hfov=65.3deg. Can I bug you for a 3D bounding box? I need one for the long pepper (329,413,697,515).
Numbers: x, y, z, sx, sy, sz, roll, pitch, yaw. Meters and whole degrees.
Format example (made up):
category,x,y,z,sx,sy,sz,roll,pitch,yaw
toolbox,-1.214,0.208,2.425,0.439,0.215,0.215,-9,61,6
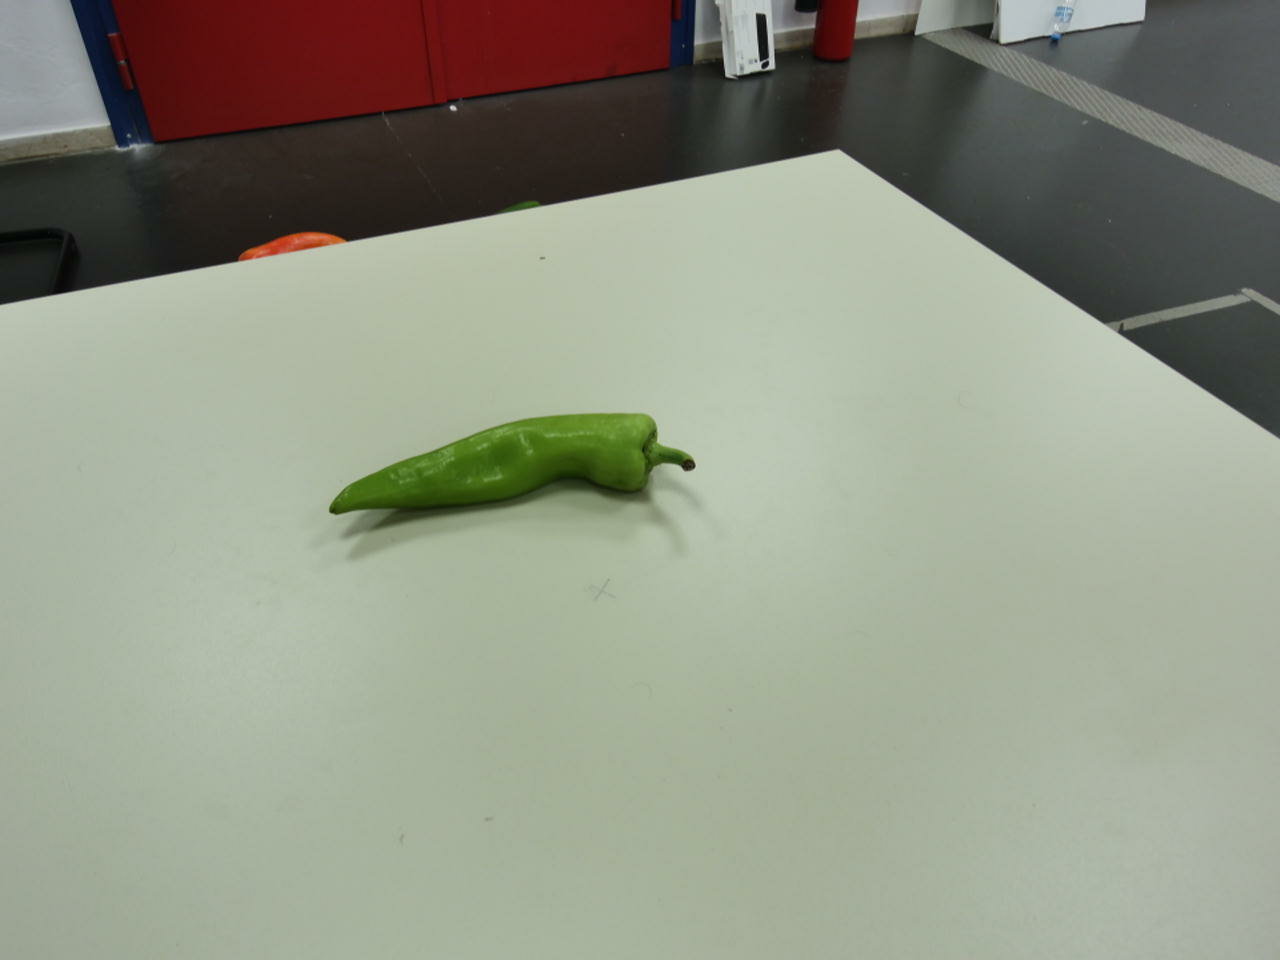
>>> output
category,x,y,z,sx,sy,sz,roll,pitch,yaw
long pepper,-0.073,-0.011,0.582,0.204,0.045,0.065,-5,39,-7
